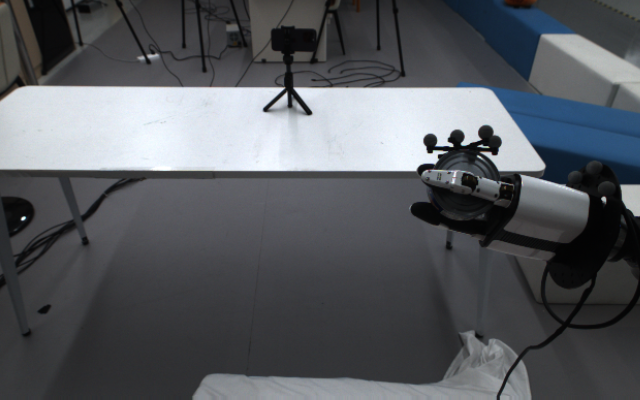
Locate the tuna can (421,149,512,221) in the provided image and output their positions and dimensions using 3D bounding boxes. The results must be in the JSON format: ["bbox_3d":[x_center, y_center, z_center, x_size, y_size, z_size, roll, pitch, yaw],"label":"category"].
[{"bbox_3d":[0.178,-0.020,0.604,0.085,0.034,0.085,-1,75,4],"label":"tuna can"}]
